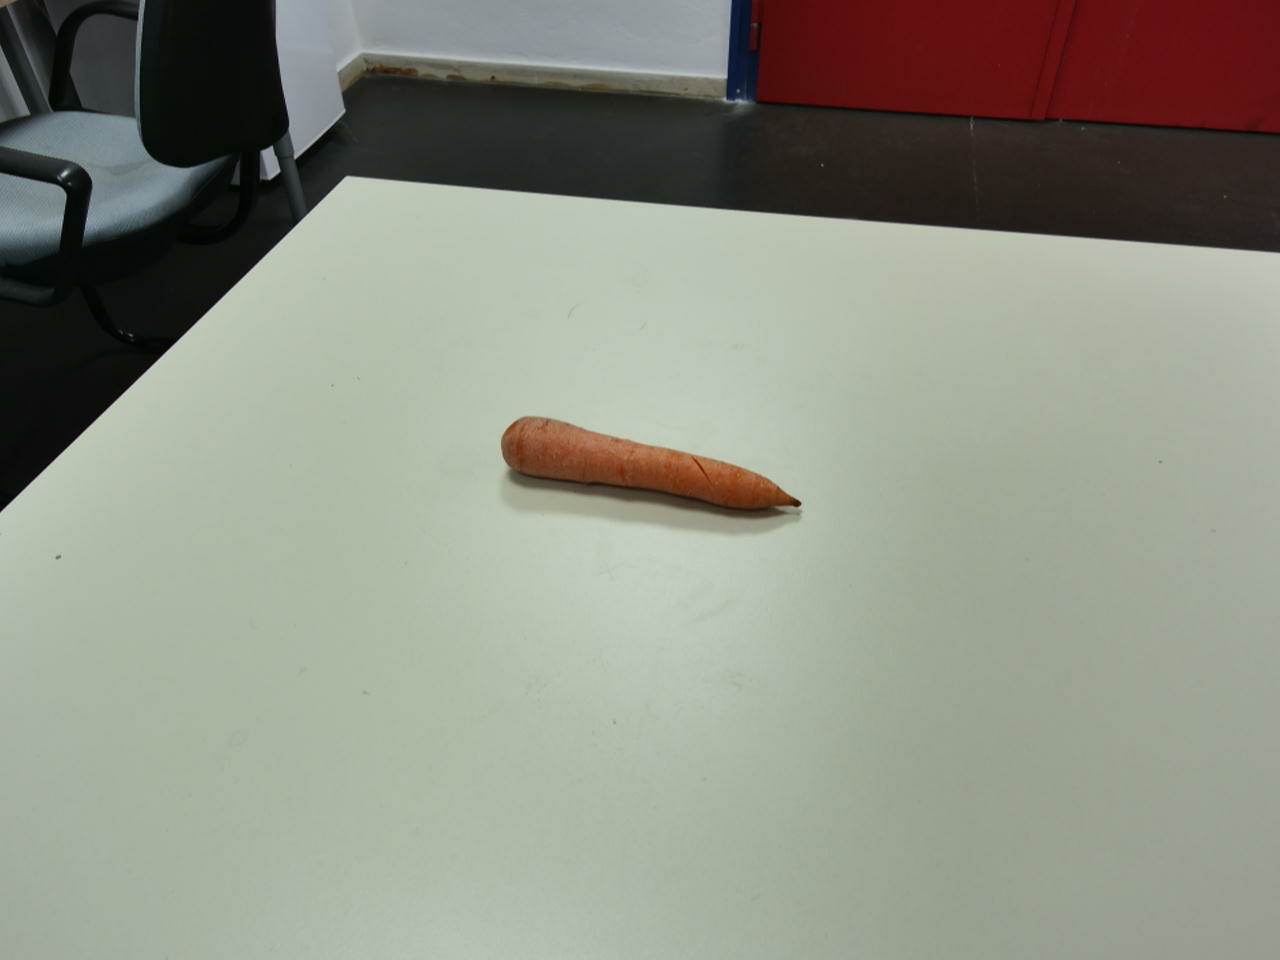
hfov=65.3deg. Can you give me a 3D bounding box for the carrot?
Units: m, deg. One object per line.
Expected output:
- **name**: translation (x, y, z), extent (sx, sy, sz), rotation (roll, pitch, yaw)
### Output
- **carrot**: translation (0.006, -0.010, 0.632), extent (0.196, 0.041, 0.039), rotation (8, 40, 10)
